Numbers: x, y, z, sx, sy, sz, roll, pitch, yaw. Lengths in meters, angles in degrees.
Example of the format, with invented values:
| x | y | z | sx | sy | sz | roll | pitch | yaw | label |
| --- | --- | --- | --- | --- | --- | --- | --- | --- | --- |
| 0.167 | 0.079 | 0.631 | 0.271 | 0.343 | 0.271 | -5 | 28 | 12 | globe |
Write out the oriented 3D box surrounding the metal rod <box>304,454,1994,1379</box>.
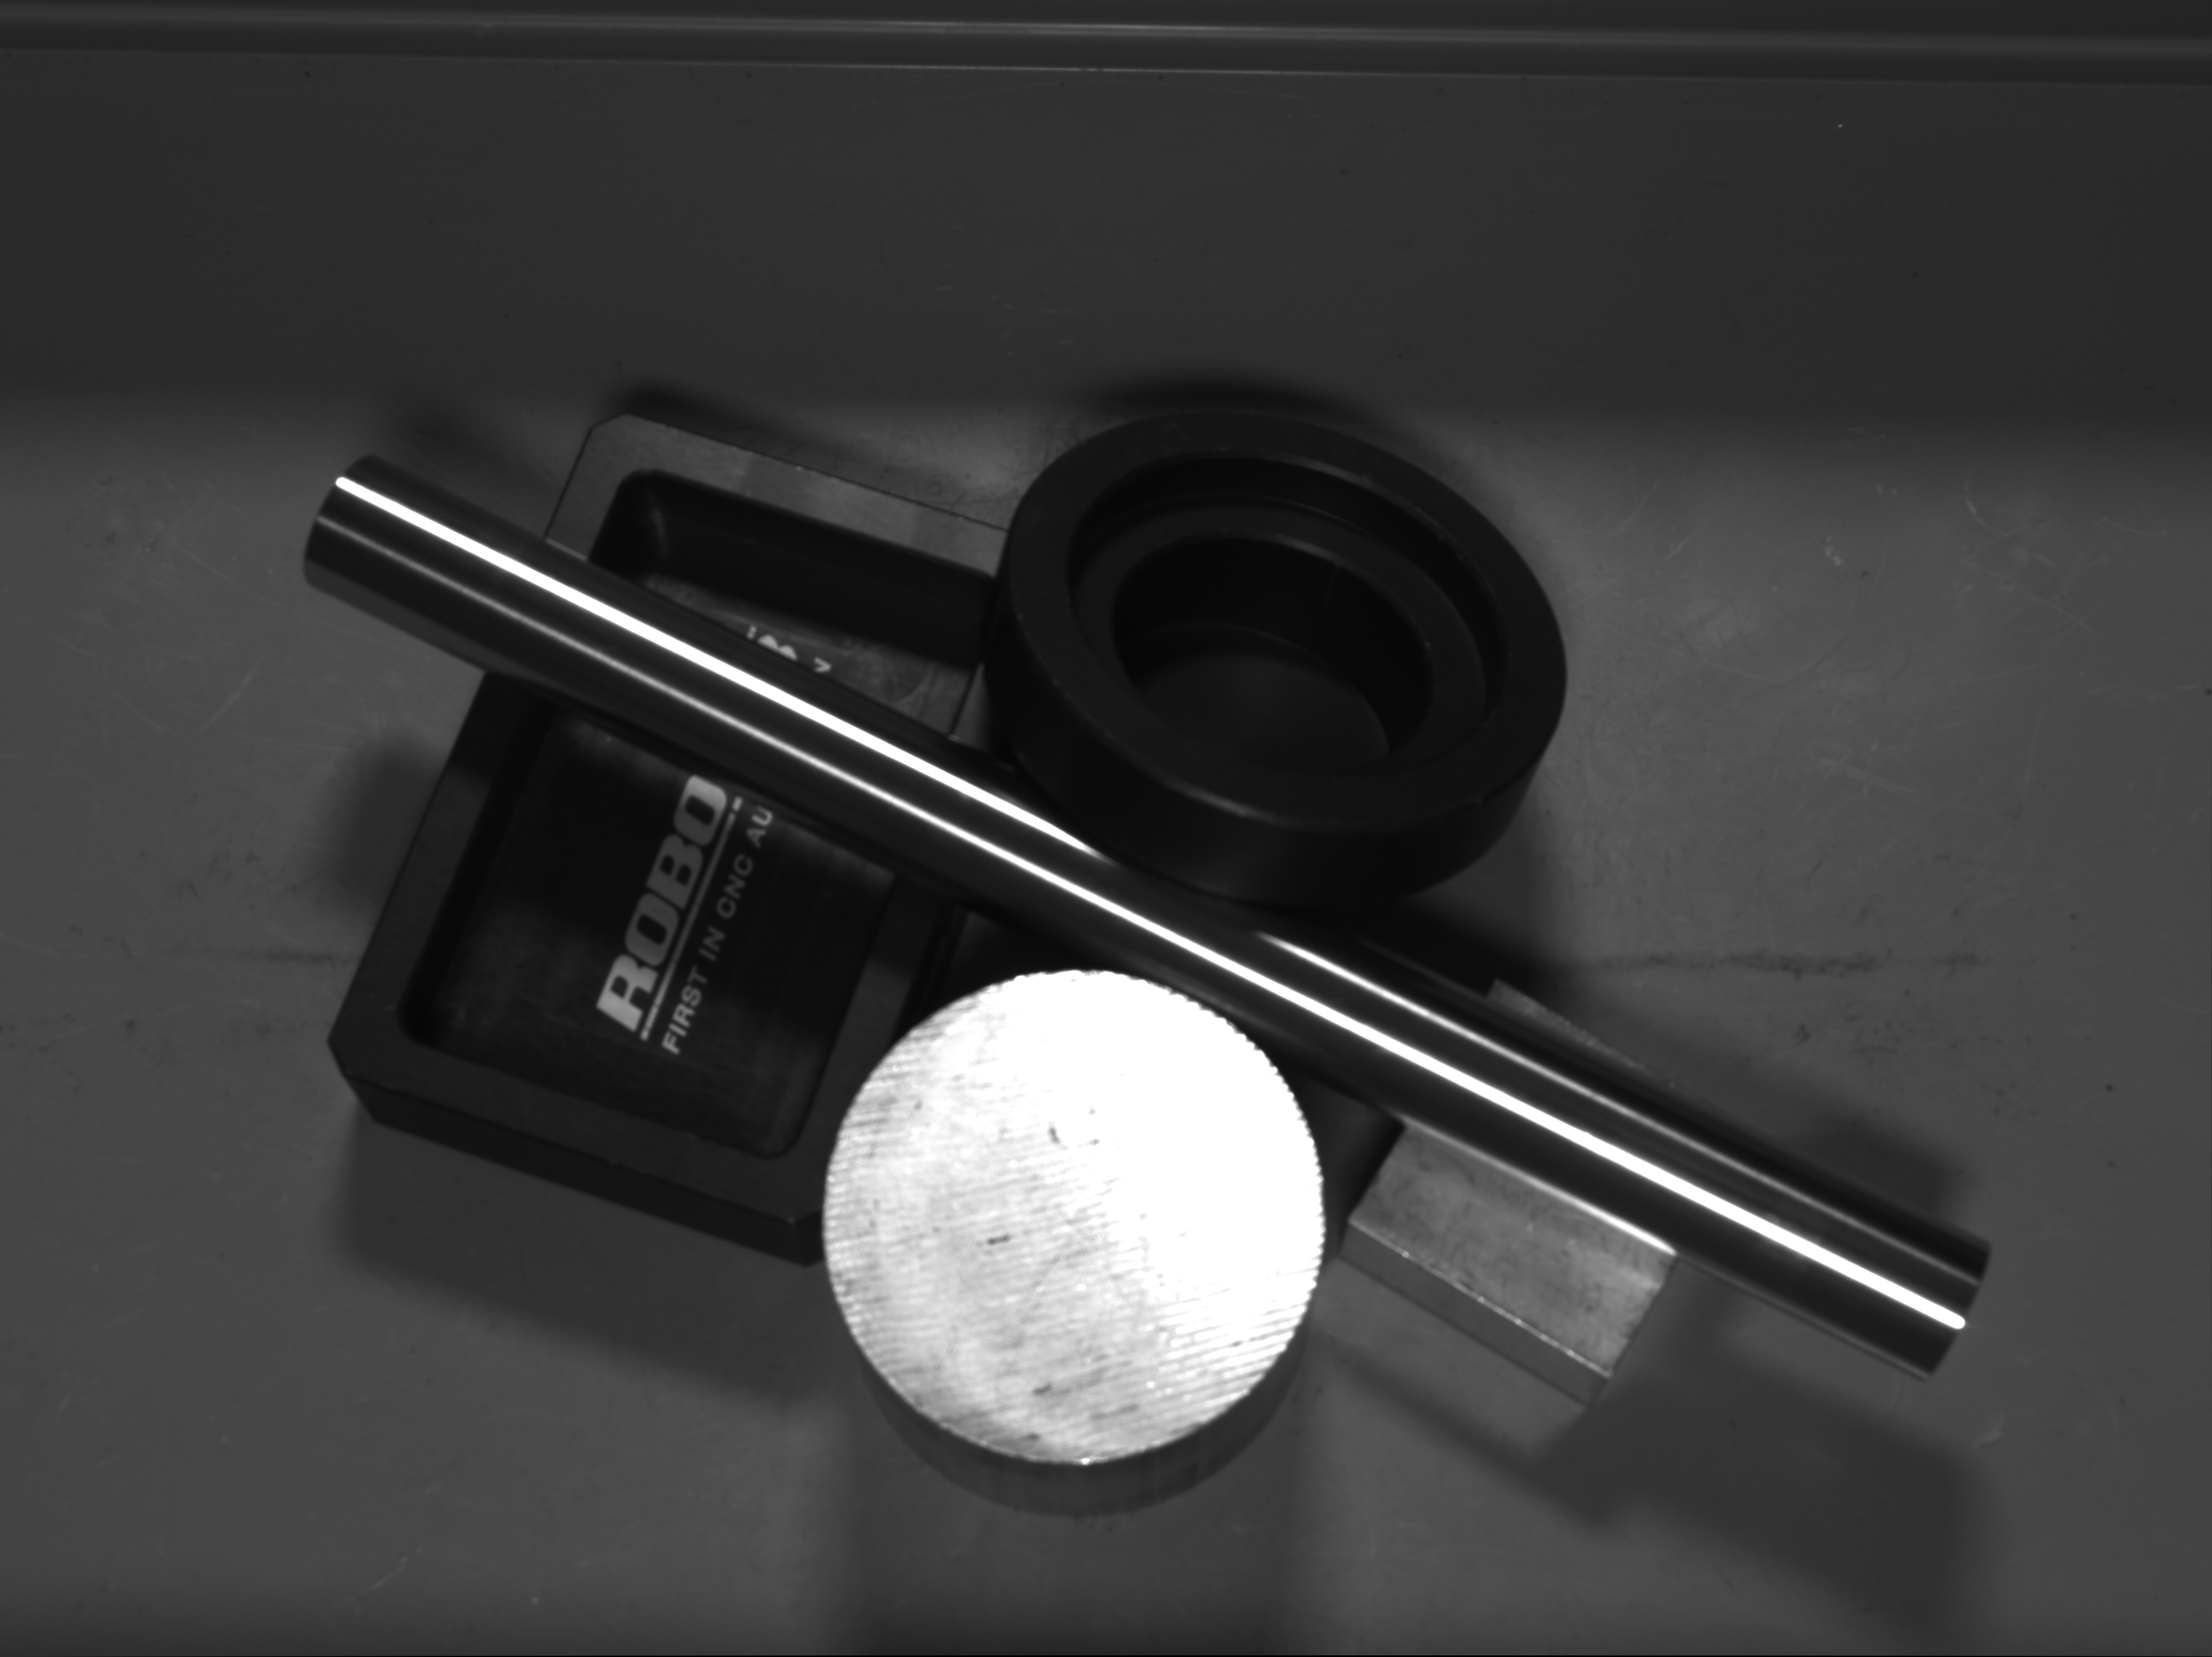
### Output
| x | y | z | sx | sy | sz | roll | pitch | yaw | label |
| --- | --- | --- | --- | --- | --- | --- | --- | --- | --- |
| 0.004 | 0.013 | 0.608 | 0.300 | 0.025 | 0.025 | 26 | 72 | 7 | metal rod |

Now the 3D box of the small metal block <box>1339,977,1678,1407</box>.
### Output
| x | y | z | sx | sy | sz | roll | pitch | yaw | label |
| --- | --- | --- | --- | --- | --- | --- | --- | --- | --- |
| 0.074 | 0.062 | 0.621 | 0.050 | 0.025 | 0.050 | 30 | 73 | 10 | small metal block |

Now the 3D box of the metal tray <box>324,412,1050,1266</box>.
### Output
| x | y | z | sx | sy | sz | roll | pitch | yaw | label |
| --- | --- | --- | --- | --- | --- | --- | --- | --- | --- |
| -0.069 | 0.000 | 0.640 | 0.090 | 0.030 | 0.130 | 17 | 71 | 6 | metal tray |

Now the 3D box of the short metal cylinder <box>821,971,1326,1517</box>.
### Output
| x | y | z | sx | sy | sz | roll | pitch | yaw | label |
| --- | --- | --- | --- | --- | --- | --- | --- | --- | --- |
| -0.005 | 0.069 | 0.604 | 0.080 | 0.050 | 0.080 | 0 | 70 | 0 | short metal cylinder |

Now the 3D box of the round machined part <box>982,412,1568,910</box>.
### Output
| x | y | z | sx | sy | sz | roll | pitch | yaw | label |
| --- | --- | --- | --- | --- | --- | --- | --- | --- | --- |
| 0.026 | -0.023 | 0.630 | 0.098 | 0.042 | 0.098 | 9 | 47 | -9 | round machined part |
